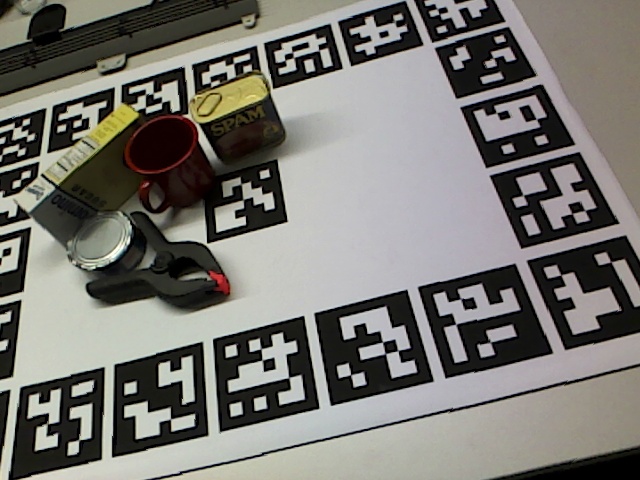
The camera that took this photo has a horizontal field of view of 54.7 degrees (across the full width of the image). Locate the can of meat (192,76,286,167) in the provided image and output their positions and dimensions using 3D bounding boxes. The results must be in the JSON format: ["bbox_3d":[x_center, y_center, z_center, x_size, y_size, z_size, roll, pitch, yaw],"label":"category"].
[{"bbox_3d":[-0.100,-0.148,0.790,0.102,0.083,0.058,-20,55,0],"label":"can of meat"}]

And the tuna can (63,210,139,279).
[{"bbox_3d":[-0.268,0.008,0.760,0.086,0.033,0.086,-6,60,11],"label":"tuna can"}]

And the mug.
[{"bbox_3d":[-0.191,-0.087,0.767,0.094,0.081,0.117,9,63,19],"label":"mug"}]

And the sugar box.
[{"bbox_3d":[-0.282,-0.076,0.788,0.045,0.092,0.176,35,71,31],"label":"sugar box"}]

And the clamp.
[{"bbox_3d":[-0.184,0.039,0.725,0.166,0.036,0.122,20,62,20],"label":"clamp"}]
